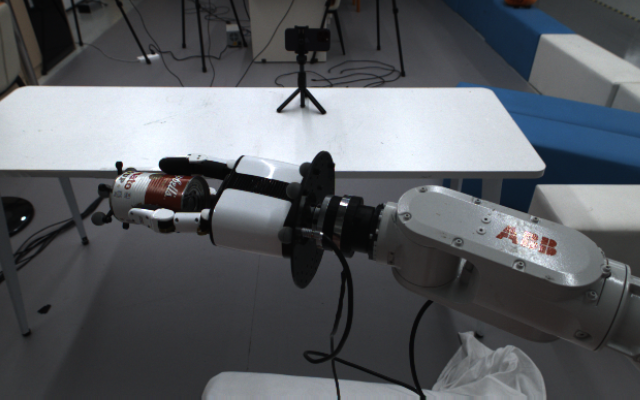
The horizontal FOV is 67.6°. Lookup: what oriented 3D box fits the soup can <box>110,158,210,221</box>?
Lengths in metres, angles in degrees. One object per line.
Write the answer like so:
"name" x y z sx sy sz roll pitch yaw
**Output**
"soup can" -0.197 0.001 0.601 0.101 0.067 0.067 6 34 15
